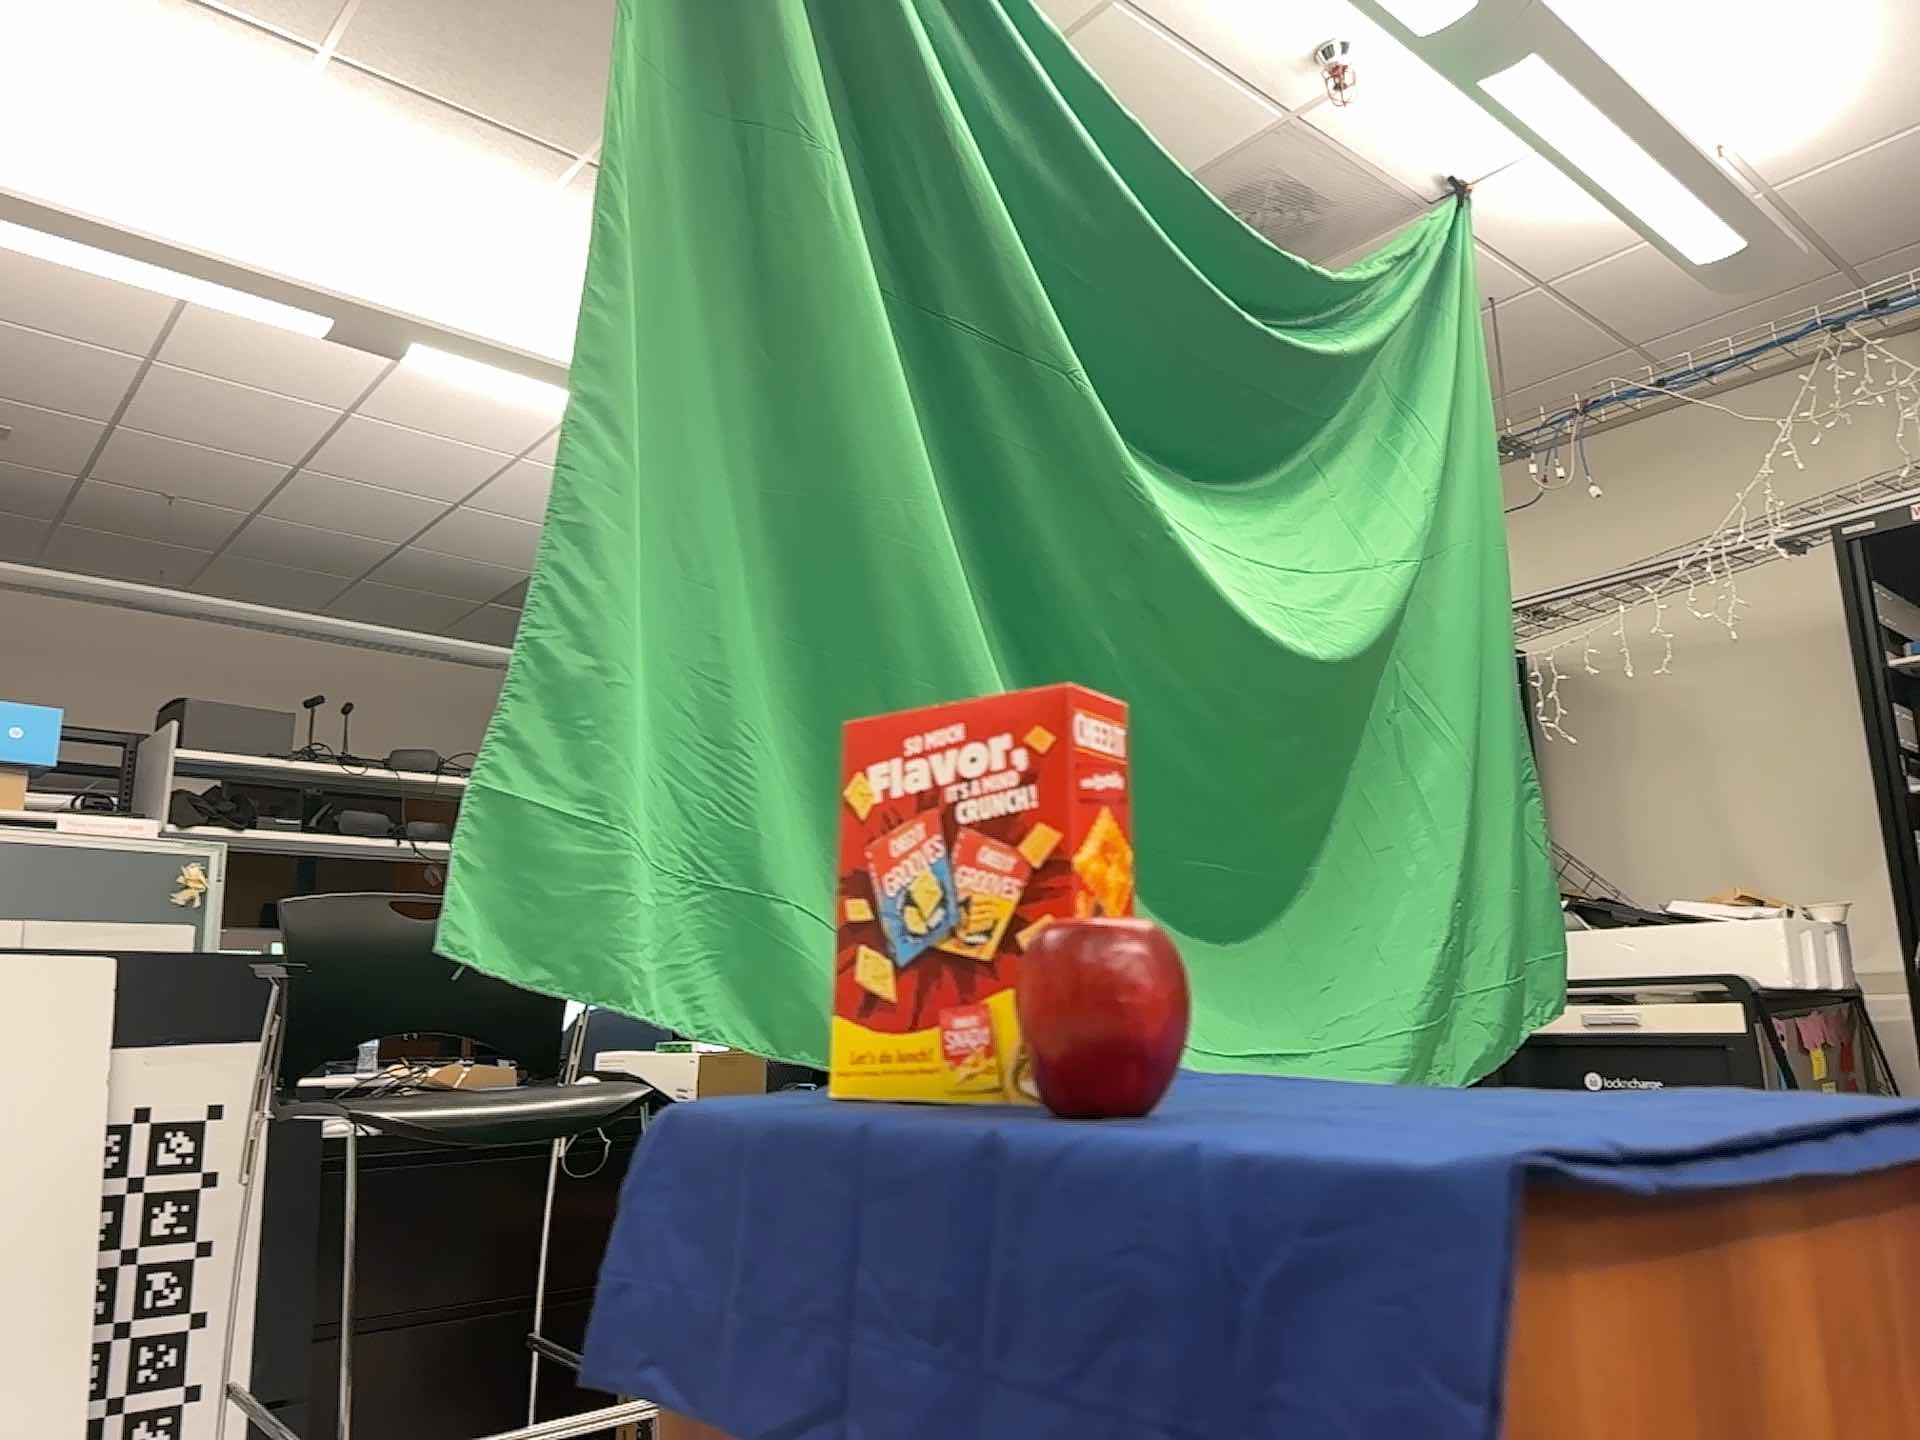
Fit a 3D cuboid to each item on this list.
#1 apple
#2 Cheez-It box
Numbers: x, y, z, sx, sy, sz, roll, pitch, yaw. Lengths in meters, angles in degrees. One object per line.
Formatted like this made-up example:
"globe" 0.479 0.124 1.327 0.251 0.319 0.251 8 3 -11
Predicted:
"apple" 0.060 0.130 0.609 0.079 0.093 0.079 -3 -12 -1
"Cheez-It box" 0.006 0.098 0.746 0.159 0.214 0.062 -8 -13 33
